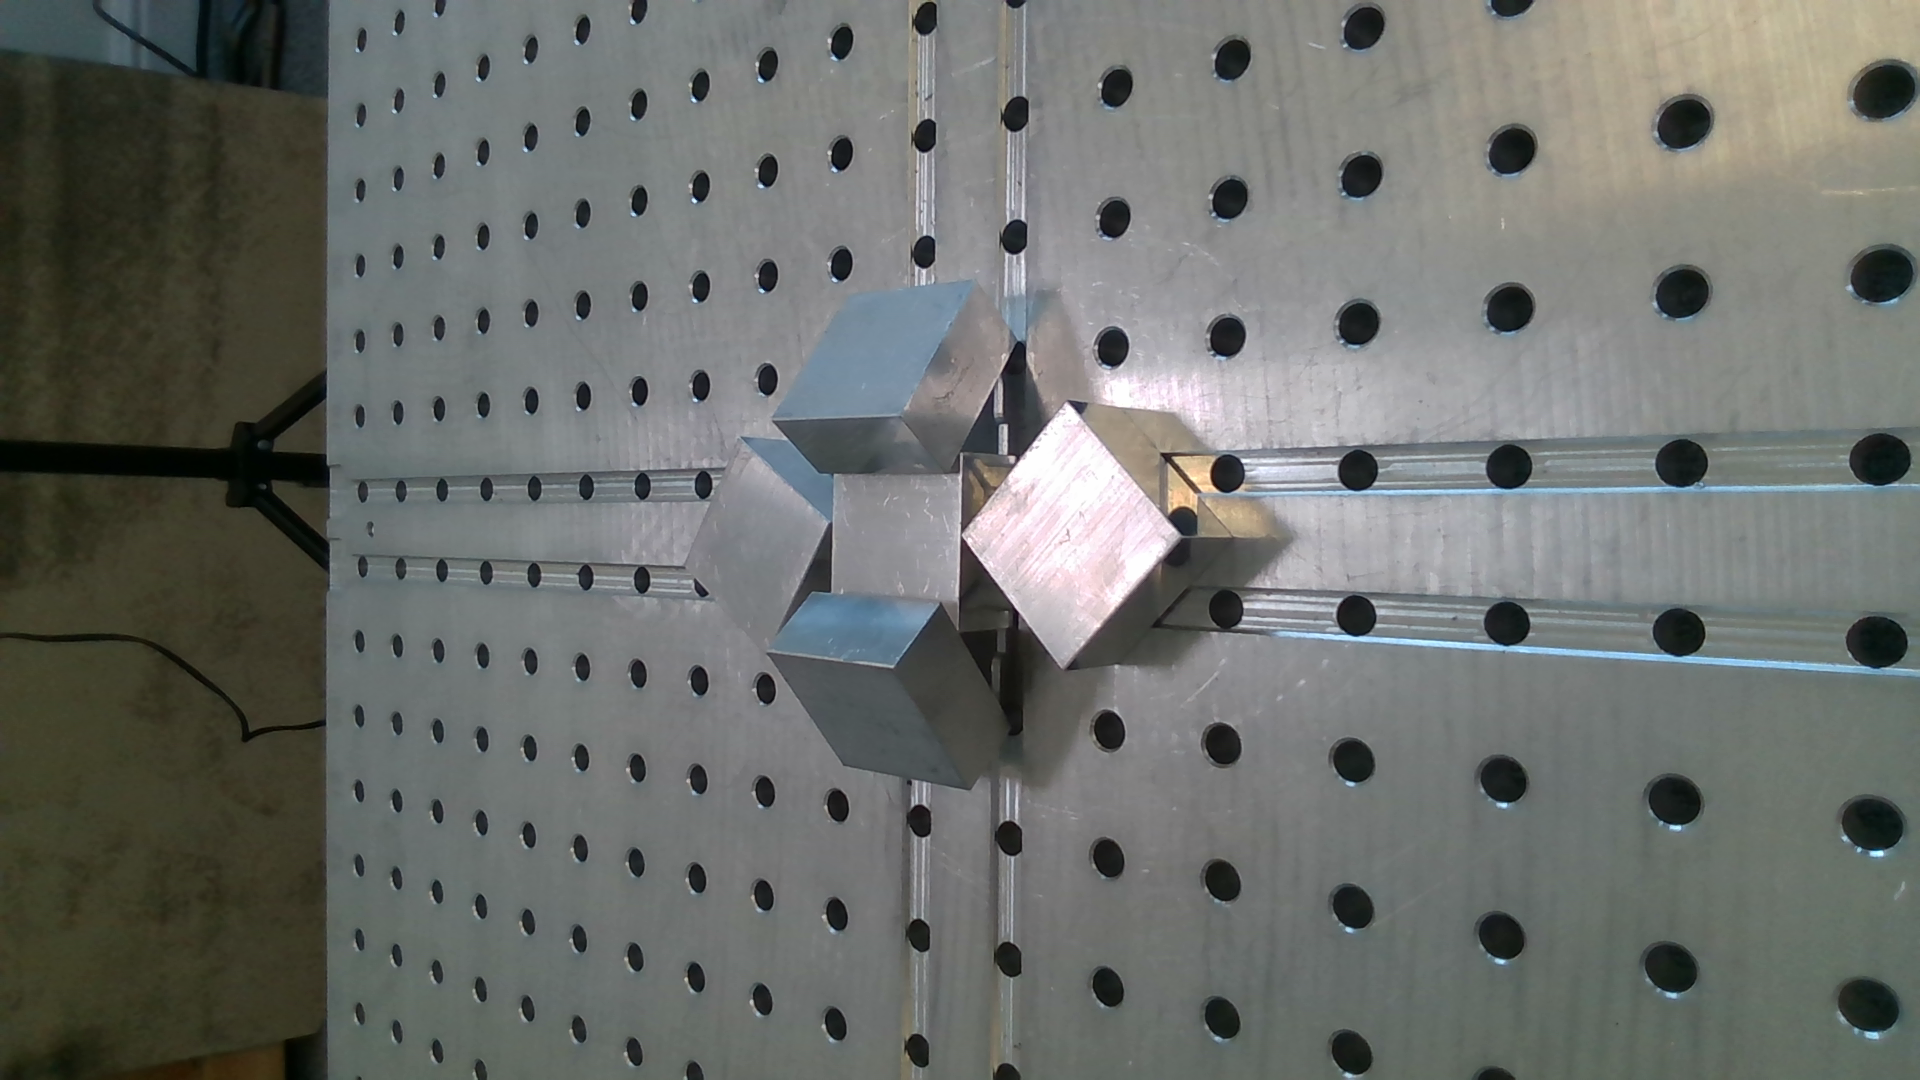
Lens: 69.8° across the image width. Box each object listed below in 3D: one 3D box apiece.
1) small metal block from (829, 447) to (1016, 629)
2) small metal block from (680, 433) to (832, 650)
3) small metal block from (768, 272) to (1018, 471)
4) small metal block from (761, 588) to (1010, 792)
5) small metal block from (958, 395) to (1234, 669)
[{"bbox_3d":[-0.012,-0.001,0.403,0.050,0.025,0.050,2,92,39],"label":"small metal block"},{"bbox_3d":[-0.058,0.001,0.441,0.050,0.025,0.050,42,114,33],"label":"small metal block"},{"bbox_3d":[-0.019,-0.047,0.392,0.050,0.025,0.050,3,56,41],"label":"small metal block"},{"bbox_3d":[-0.021,0.042,0.394,0.050,0.025,0.050,3,133,40],"label":"small metal block"},{"bbox_3d":[0.035,-0.002,0.364,0.050,0.025,0.050,-51,61,27],"label":"small metal block"}]
